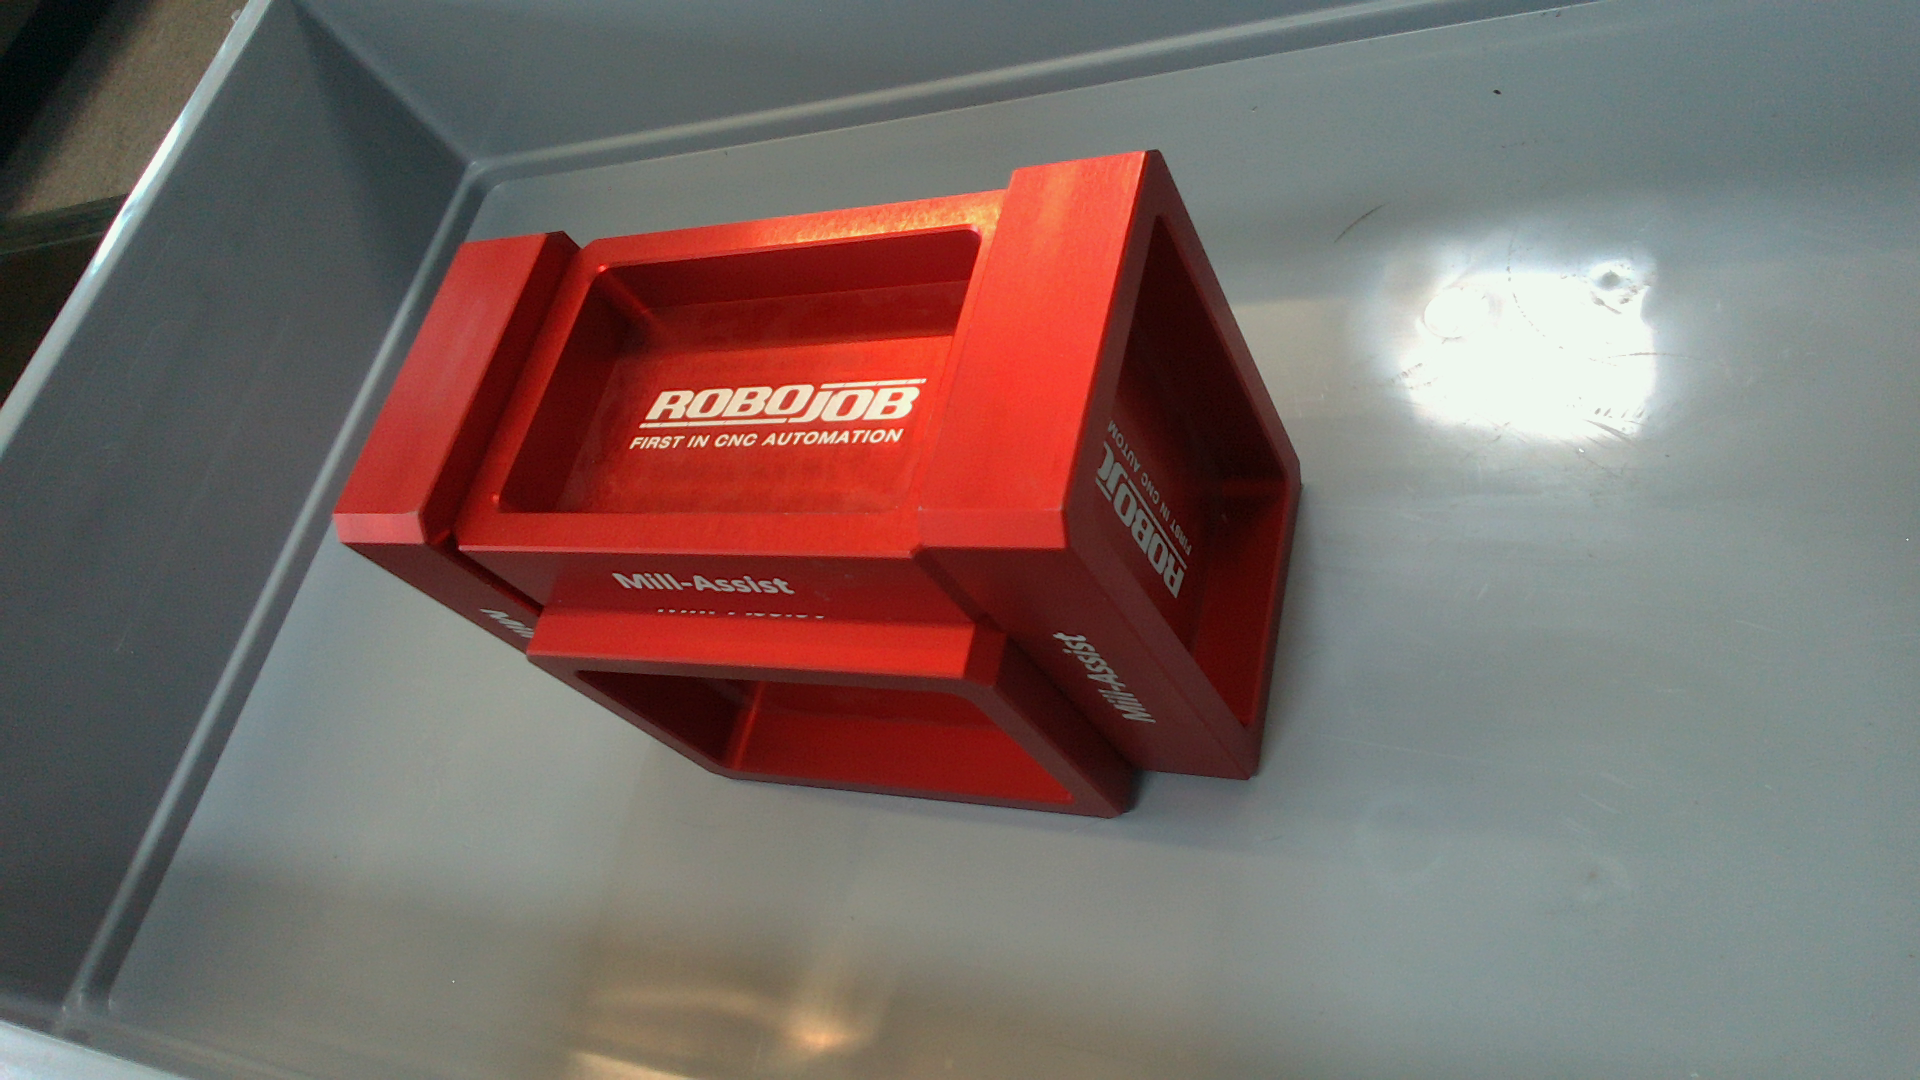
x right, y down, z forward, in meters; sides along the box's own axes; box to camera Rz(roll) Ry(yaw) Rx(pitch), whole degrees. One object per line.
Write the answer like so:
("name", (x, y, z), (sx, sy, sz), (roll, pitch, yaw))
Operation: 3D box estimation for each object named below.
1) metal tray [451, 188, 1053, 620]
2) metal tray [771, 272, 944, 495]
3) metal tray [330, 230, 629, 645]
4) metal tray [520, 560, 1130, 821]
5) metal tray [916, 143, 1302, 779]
("metal tray", (-0.046, -0.031, 0.315), (0.130, 0.030, 0.090), (1, 61, 29))
("metal tray", (-0.010, -0.044, 0.380), (0.130, 0.090, 0.030), (0, 62, 29))
("metal tray", (-0.100, -0.011, 0.385), (0.030, 0.130, 0.090), (0, 62, 29))
("metal tray", (-0.031, 0.035, 0.343), (0.130, 0.090, 0.030), (0, 61, 28))
("metal tray", (0.042, -0.011, 0.307), (0.030, 0.130, 0.090), (1, 62, 29))
